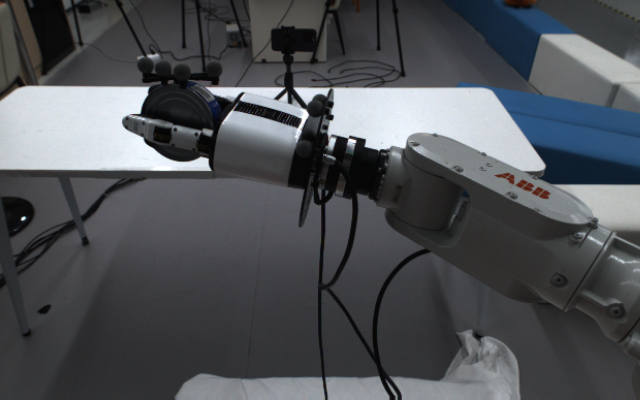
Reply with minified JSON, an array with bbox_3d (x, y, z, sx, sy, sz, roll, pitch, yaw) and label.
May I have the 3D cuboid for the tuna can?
[{"bbox_3d":[-0.152,-0.089,0.543,0.085,0.085,0.034,8,22,9],"label":"tuna can"}]
